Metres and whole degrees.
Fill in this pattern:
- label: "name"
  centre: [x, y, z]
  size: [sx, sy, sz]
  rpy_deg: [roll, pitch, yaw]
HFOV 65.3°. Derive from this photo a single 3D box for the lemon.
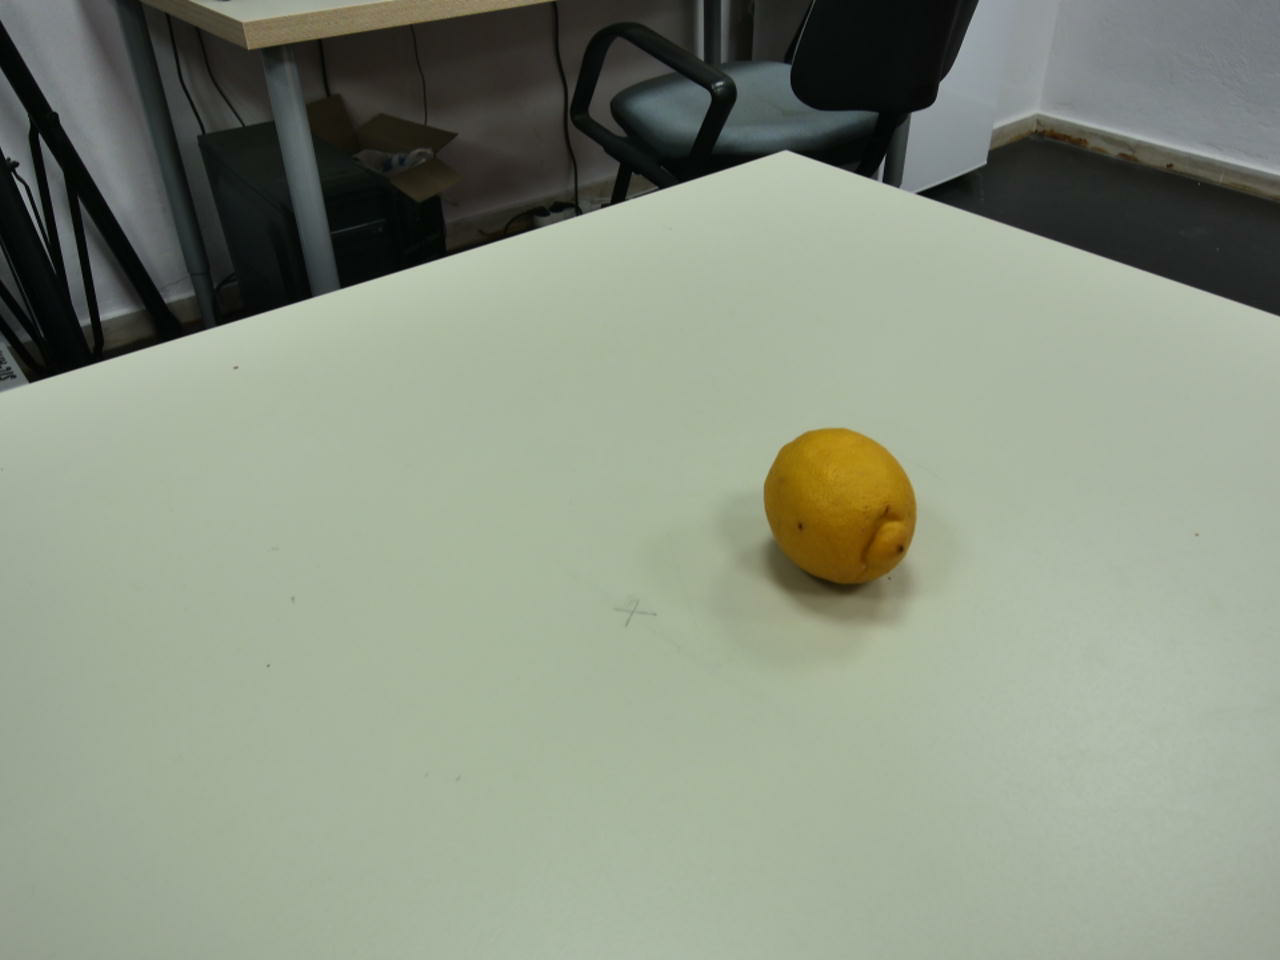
- label: "lemon"
  centre: [0.082, 0.011, 0.413]
  size: [0.061, 0.059, 0.066]
  rpy_deg: [2, 35, 4]
